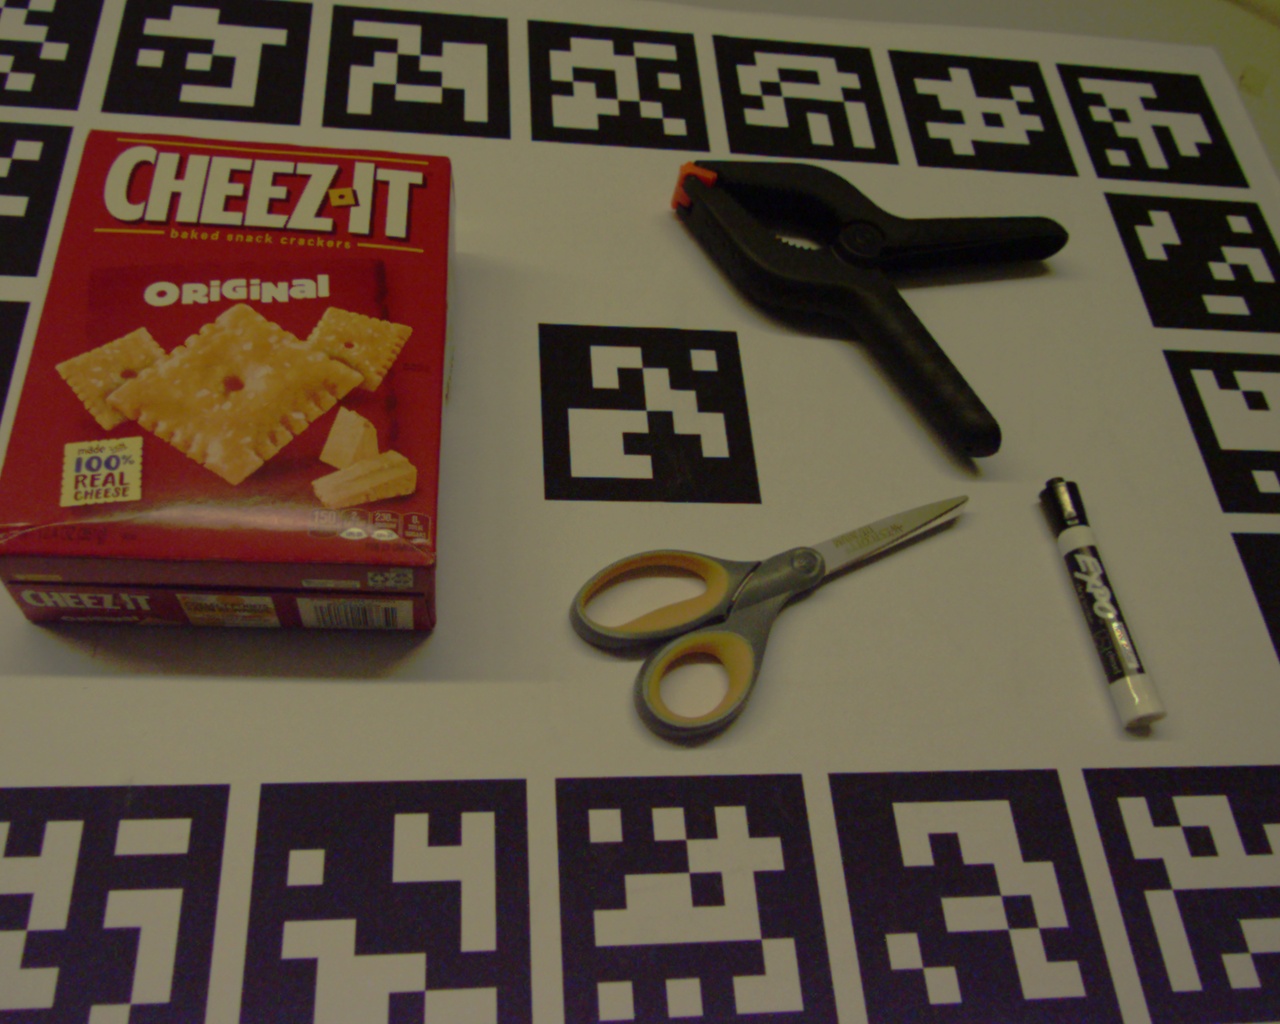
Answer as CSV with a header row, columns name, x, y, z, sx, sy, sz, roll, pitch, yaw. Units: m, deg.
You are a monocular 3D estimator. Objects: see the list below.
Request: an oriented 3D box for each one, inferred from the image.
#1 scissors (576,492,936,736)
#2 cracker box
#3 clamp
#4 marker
name,x,y,z,sx,sy,sz,roll,pitch,yaw
scissors,0.065,0.029,0.538,0.201,0.016,0.088,-26,66,-24
cracker box,-0.166,-0.057,0.522,0.163,0.072,0.214,2,60,-8
clamp,0.099,-0.131,0.643,0.203,0.036,0.165,27,58,6
marker,0.206,0.035,0.556,0.019,0.019,0.121,-3,60,-11
